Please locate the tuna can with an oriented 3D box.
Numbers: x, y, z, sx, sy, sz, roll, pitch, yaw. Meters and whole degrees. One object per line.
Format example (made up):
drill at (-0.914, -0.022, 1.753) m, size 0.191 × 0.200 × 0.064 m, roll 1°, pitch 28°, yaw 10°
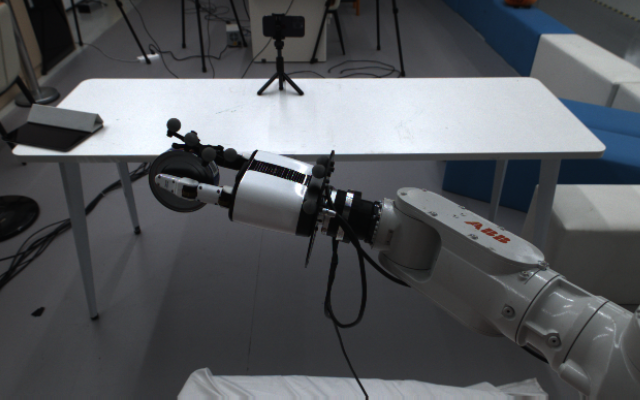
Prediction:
tuna can at (-0.177, -0.027, 0.637) m, size 0.085 × 0.085 × 0.034 m, roll 4°, pitch 19°, yaw 3°
